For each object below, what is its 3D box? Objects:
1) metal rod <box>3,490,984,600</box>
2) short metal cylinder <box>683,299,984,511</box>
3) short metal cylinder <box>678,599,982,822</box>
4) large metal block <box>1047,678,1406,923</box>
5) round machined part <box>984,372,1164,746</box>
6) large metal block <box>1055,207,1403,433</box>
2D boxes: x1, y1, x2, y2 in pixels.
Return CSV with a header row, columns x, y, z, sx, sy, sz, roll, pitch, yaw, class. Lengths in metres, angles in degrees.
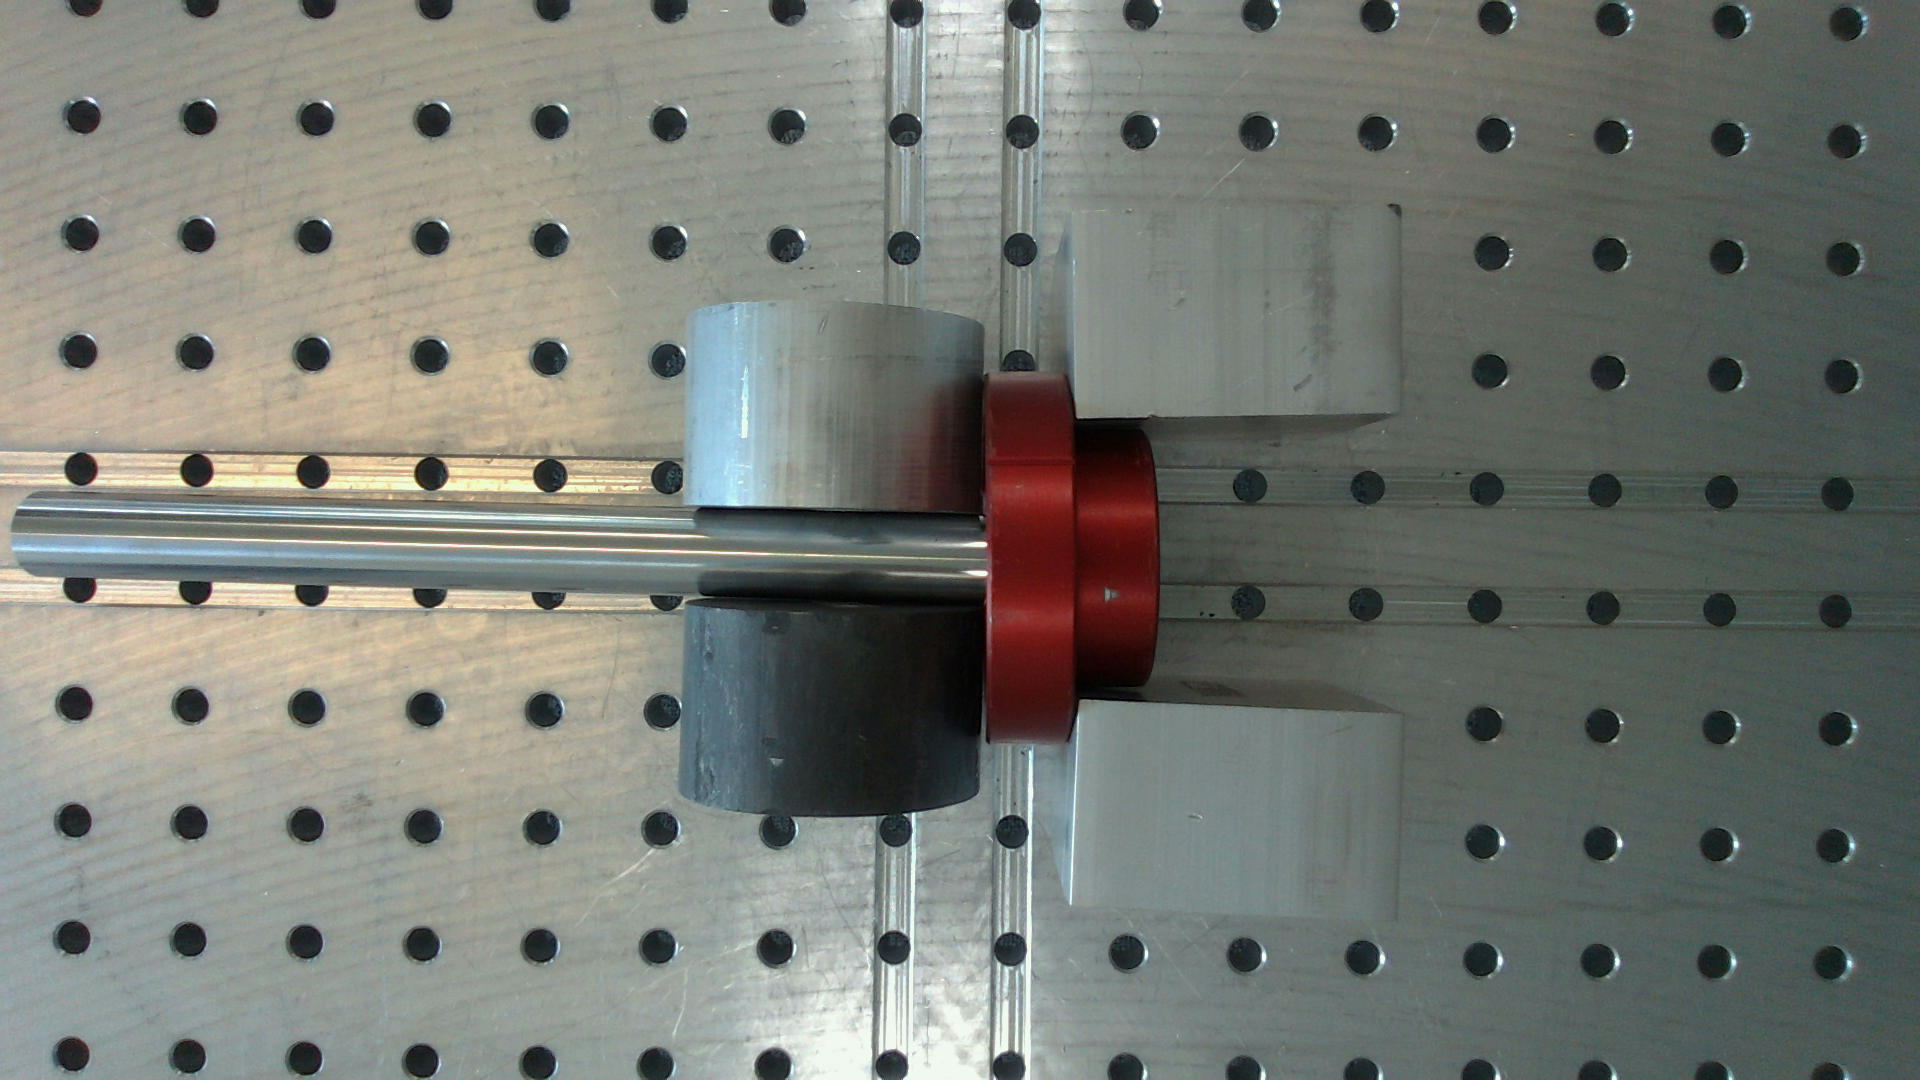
x,y,z,sx,sy,sz,roll,pitch,yaw,class
-0.116,0.002,0.385,0.300,0.025,0.025,2,90,4,metal rod
-0.034,-0.033,0.370,0.080,0.080,0.050,1,91,0,short metal cylinder
-0.035,0.042,0.369,0.080,0.080,0.050,1,91,0,short metal cylinder
0.067,0.065,0.371,0.080,0.080,0.050,3,90,0,large metal block
0.028,0.005,0.361,0.042,0.098,0.098,1,90,0,round machined part
0.067,-0.055,0.371,0.080,0.080,0.050,0,90,0,large metal block
